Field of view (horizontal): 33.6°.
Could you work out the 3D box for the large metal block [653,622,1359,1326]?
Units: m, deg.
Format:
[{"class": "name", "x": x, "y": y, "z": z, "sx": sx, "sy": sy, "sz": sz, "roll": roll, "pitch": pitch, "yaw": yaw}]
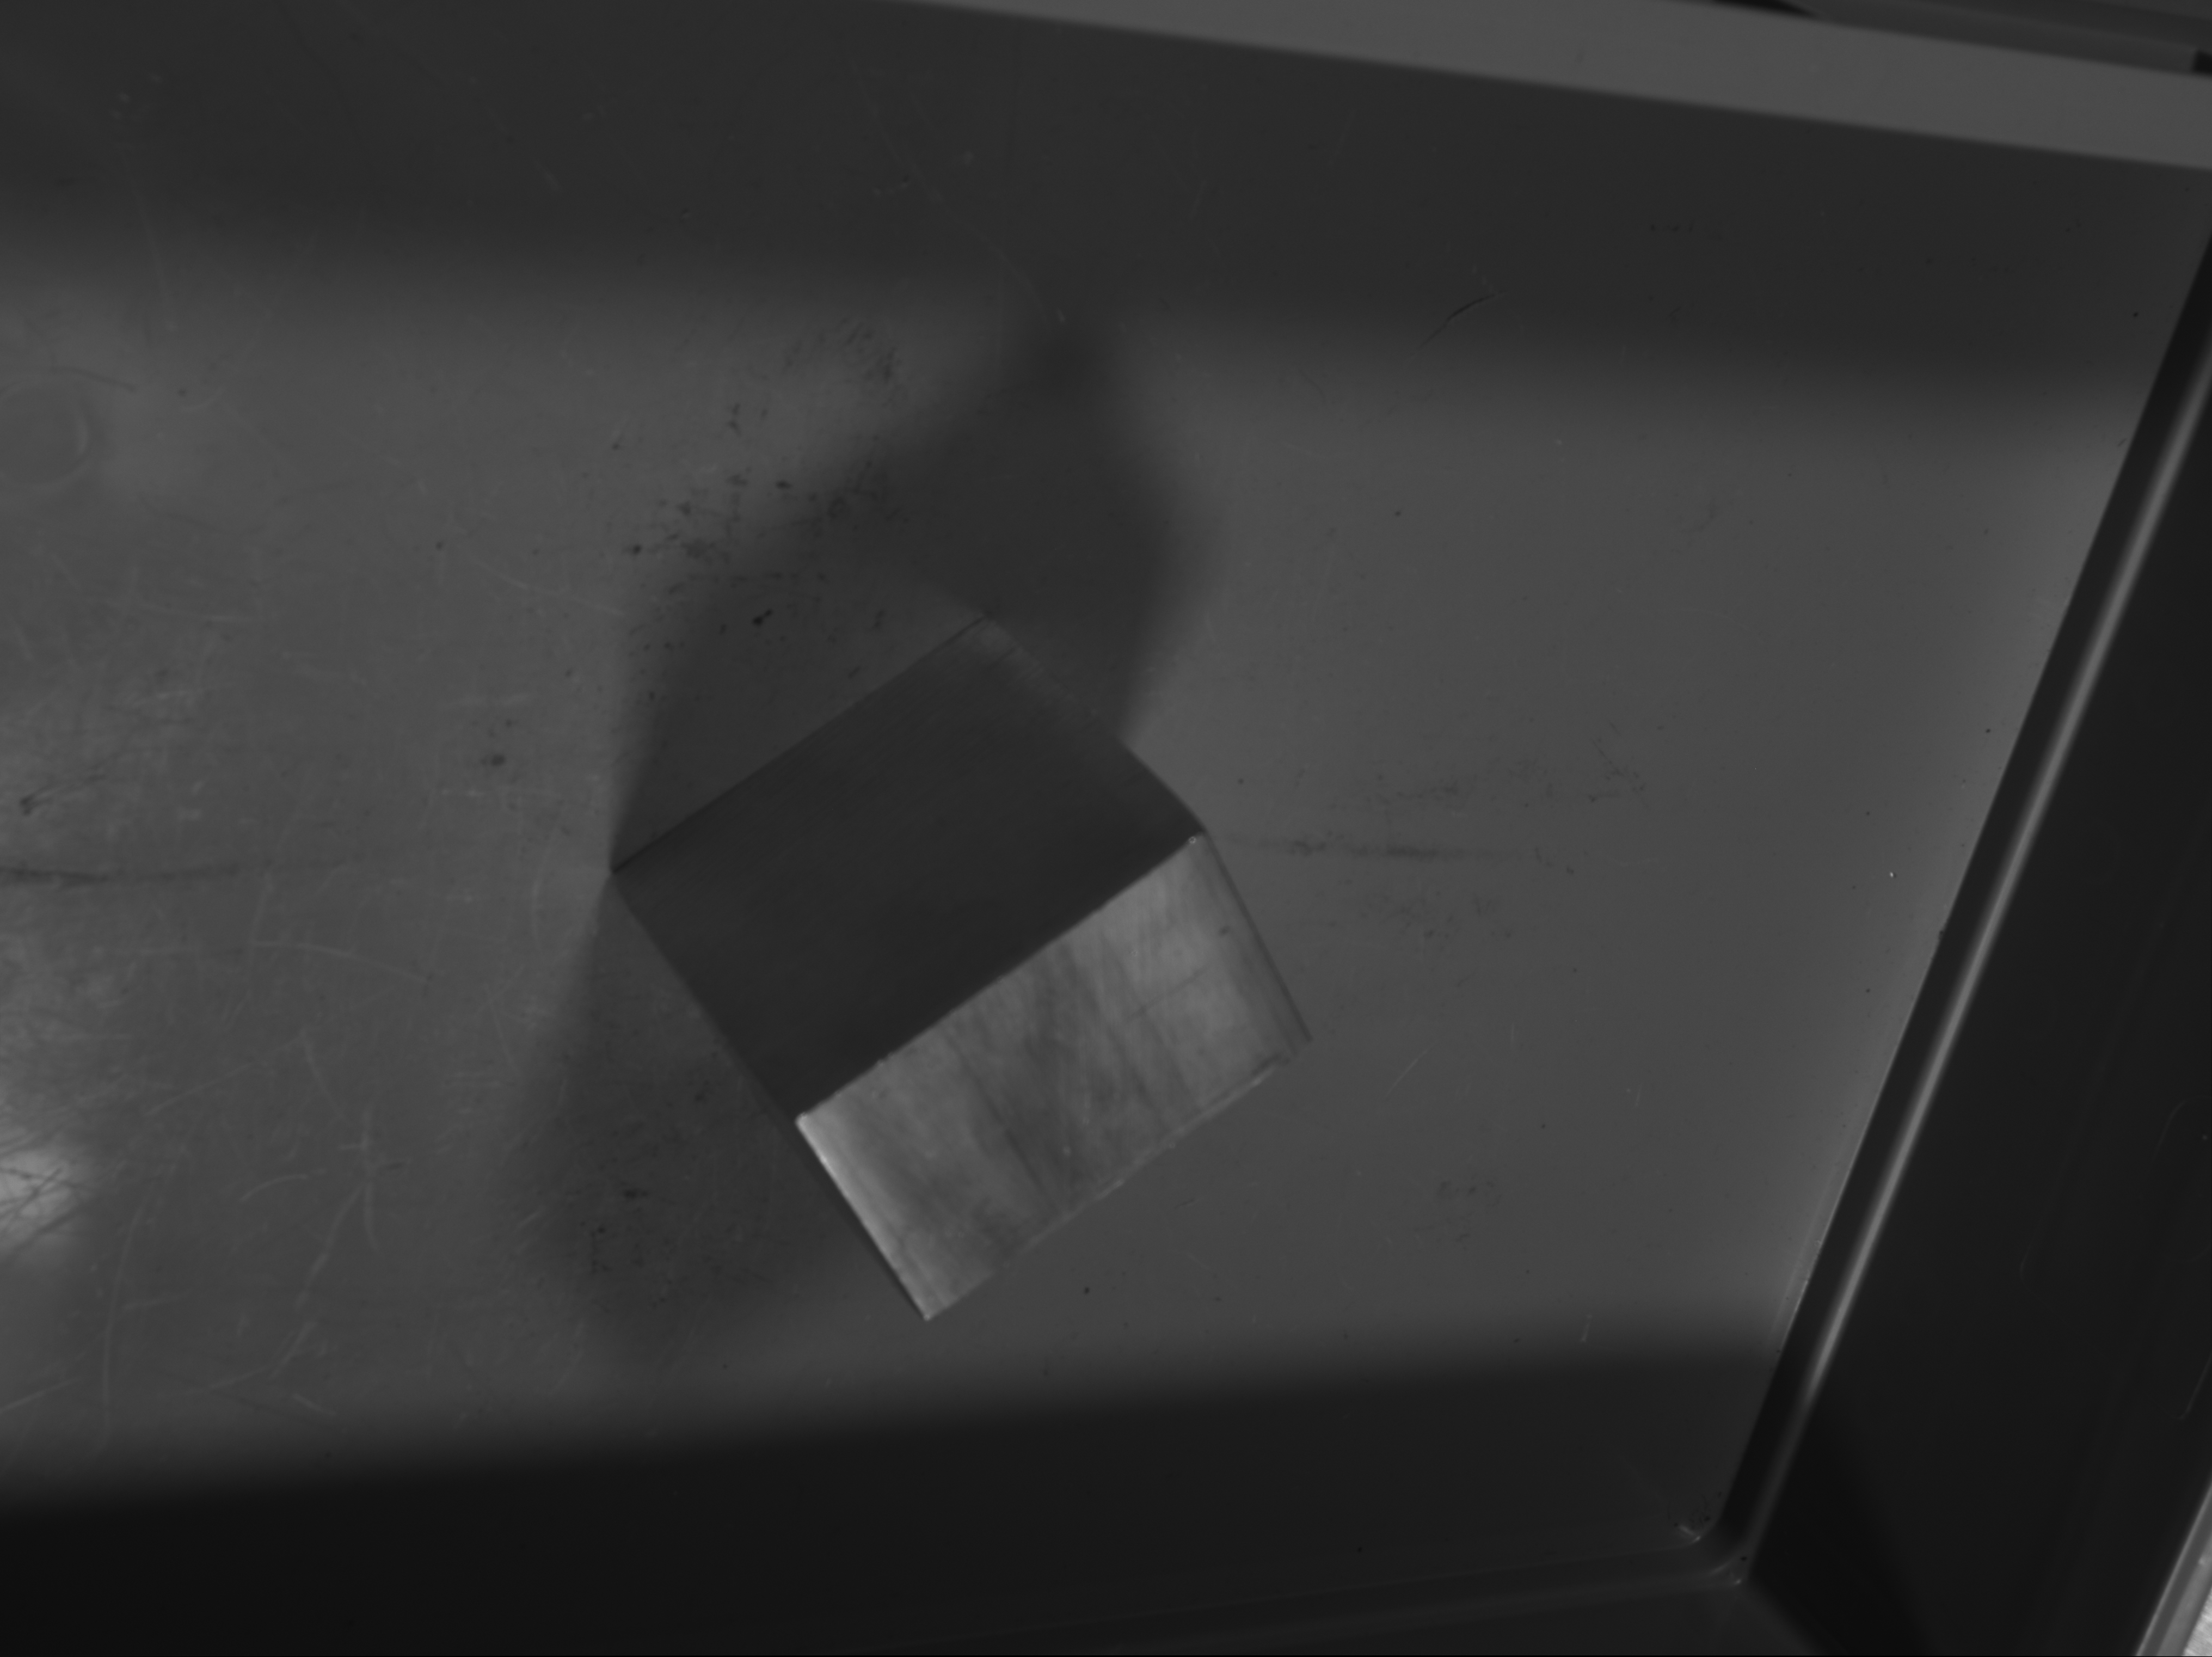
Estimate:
[{"class": "large metal block", "x": -0.018, "y": 0.023, "z": 0.615, "sx": 0.080, "sy": 0.080, "sz": 0.050, "roll": -35, "pitch": 130, "yaw": -7}]
